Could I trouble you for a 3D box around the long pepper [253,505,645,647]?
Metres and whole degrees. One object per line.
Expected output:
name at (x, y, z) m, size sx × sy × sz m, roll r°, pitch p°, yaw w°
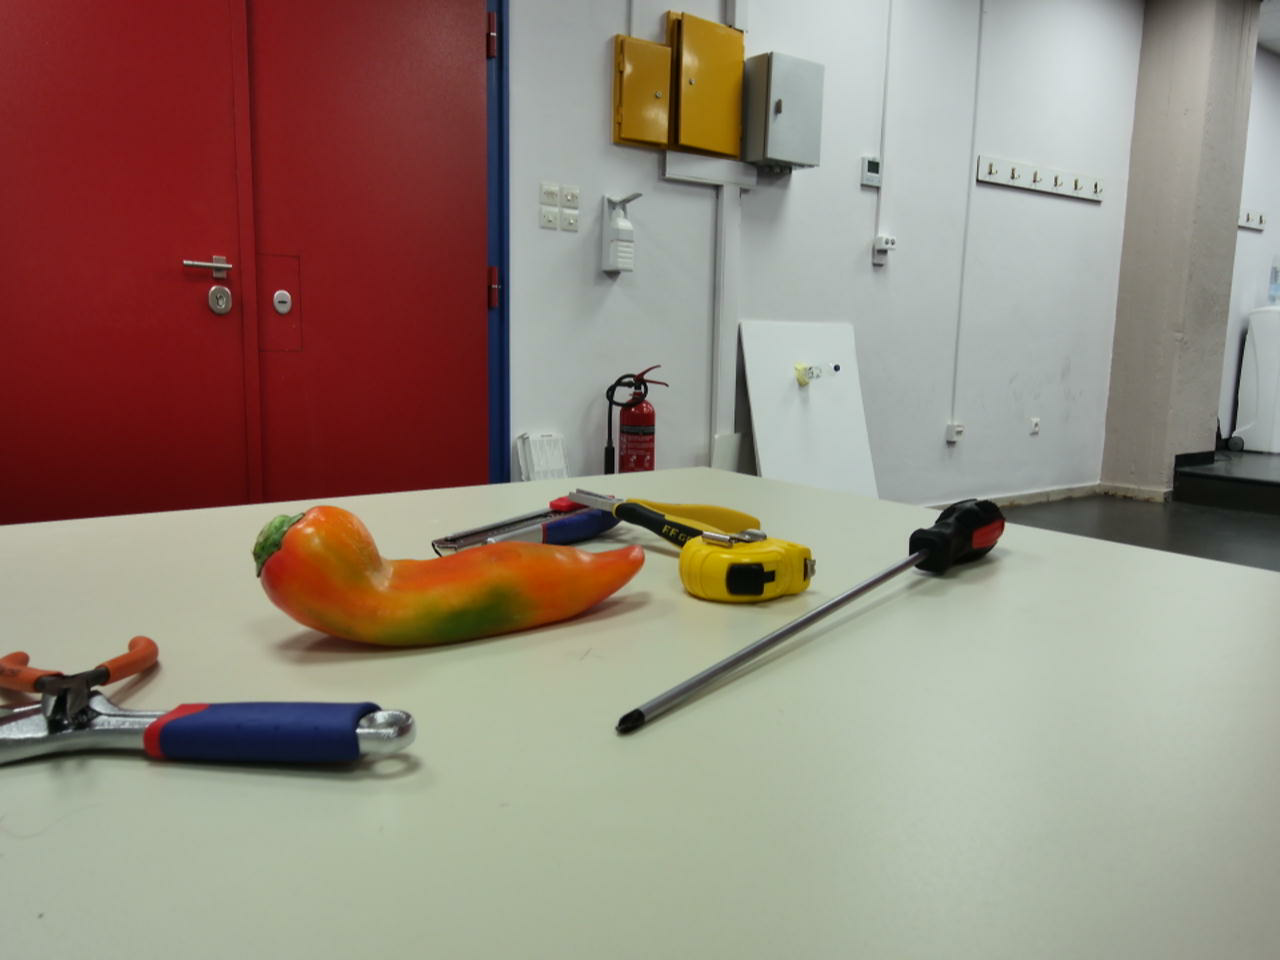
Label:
long pepper at (-0.079, 0.039, 0.480) m, size 0.199 × 0.065 × 0.066 m, roll -4°, pitch 7°, yaw -32°
